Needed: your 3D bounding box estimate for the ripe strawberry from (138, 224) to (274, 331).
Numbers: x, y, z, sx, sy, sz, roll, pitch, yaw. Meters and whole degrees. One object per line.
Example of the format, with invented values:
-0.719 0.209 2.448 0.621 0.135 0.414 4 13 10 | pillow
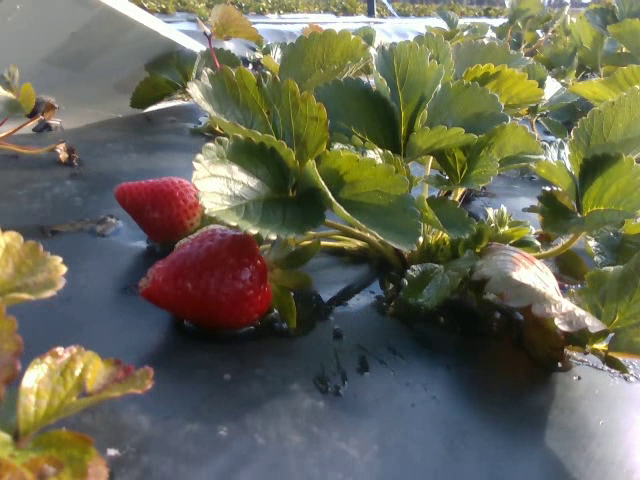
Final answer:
-0.053 0.016 0.268 0.064 0.050 0.048 -20 -11 -32 | ripe strawberry
